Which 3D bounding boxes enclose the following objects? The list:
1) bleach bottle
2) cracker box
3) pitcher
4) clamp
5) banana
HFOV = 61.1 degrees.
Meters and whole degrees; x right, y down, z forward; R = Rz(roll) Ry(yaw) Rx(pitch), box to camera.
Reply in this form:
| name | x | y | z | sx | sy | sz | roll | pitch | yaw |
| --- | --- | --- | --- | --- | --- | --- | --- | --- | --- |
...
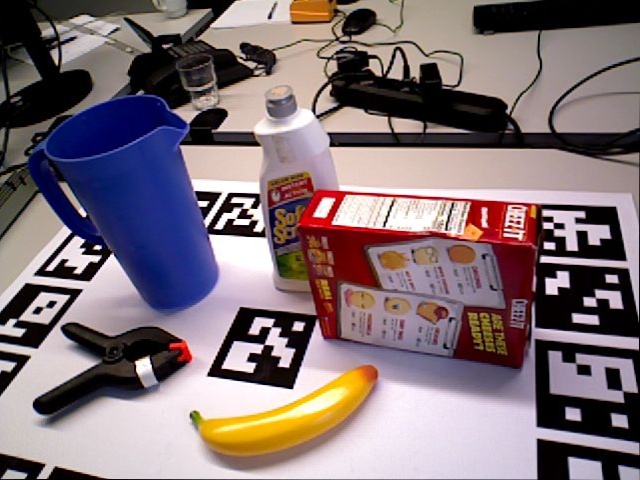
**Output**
| name | x | y | z | sx | sy | sz | roll | pitch | yaw |
| --- | --- | --- | --- | --- | --- | --- | --- | --- | --- |
| bleach bottle | -0.025 | -0.044 | 0.611 | 0.103 | 0.255 | 0.066 | 2 | 40 | 15 |
| cracker box | 0.111 | 0.030 | 0.532 | 0.214 | 0.167 | 0.070 | 2 | 38 | 18 |
| pitcher | -0.217 | -0.040 | 0.621 | 0.188 | 0.247 | 0.131 | -8 | 39 | -1 |
| clamp | -0.218 | 0.141 | 0.604 | 0.164 | 0.037 | 0.120 | -8 | 38 | 2 |
| banana | -0.010 | 0.170 | 0.531 | 0.195 | 0.039 | 0.073 | -20 | 40 | -10 |
